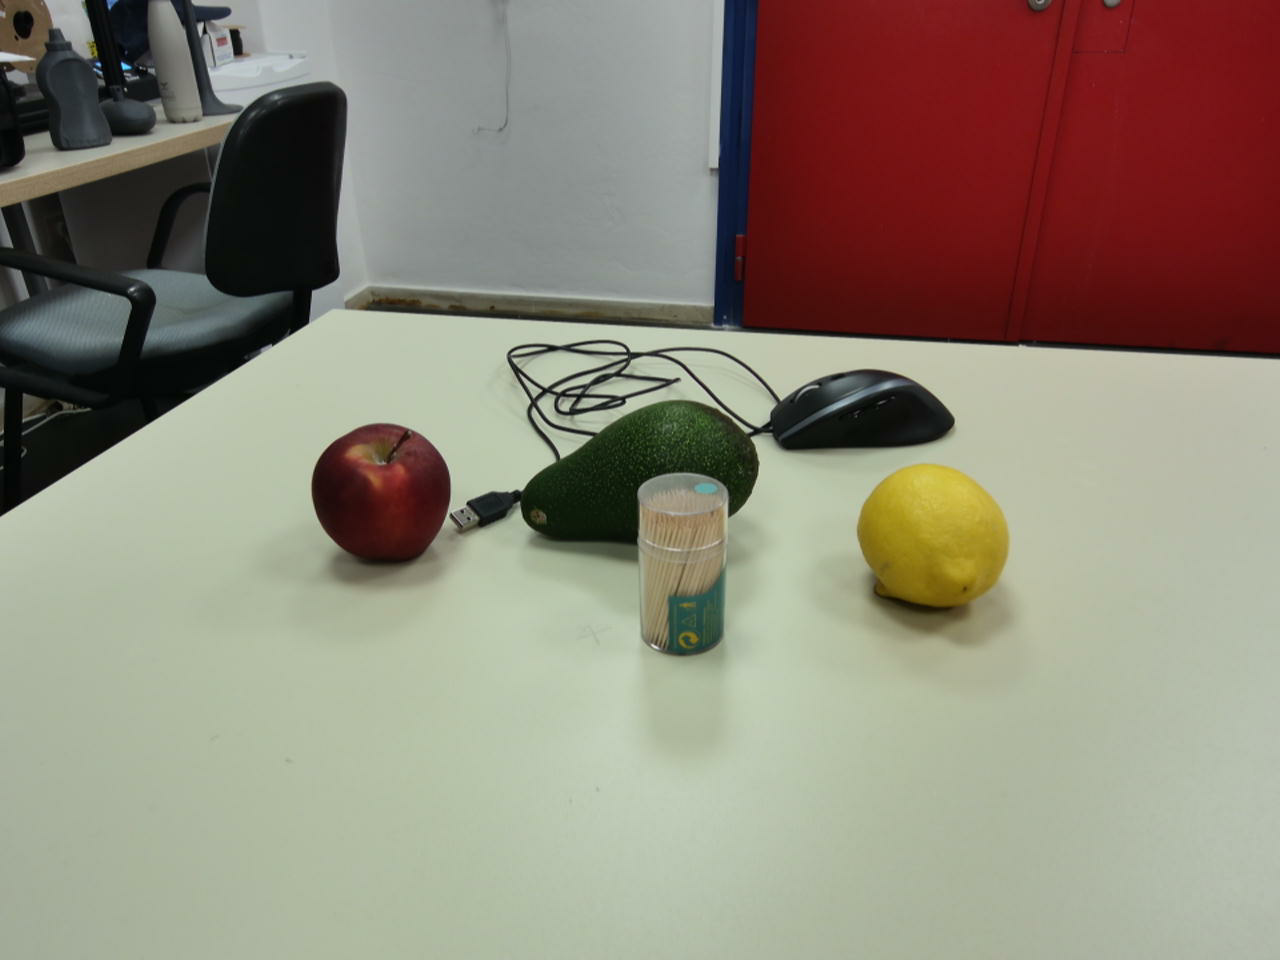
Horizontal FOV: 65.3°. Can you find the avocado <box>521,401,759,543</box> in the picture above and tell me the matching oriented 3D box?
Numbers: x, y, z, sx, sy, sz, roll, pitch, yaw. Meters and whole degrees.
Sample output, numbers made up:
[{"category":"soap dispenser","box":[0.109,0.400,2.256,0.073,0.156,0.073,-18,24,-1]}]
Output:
[{"category":"avocado","box":[0.002,-0.007,0.533,0.123,0.076,0.074,8,26,17]}]
